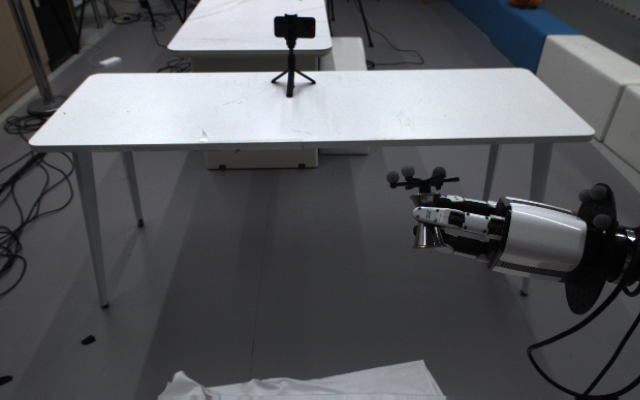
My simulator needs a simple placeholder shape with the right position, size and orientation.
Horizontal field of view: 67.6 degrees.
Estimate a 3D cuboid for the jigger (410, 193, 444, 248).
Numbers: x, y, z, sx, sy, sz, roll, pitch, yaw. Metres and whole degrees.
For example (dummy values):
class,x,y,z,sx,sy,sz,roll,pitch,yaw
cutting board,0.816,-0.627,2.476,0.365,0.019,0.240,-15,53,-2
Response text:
class,x,y,z,sx,sy,sz,roll,pitch,yaw
jigger,0.137,0.026,0.622,0.043,0.071,0.043,-2,-7,0
